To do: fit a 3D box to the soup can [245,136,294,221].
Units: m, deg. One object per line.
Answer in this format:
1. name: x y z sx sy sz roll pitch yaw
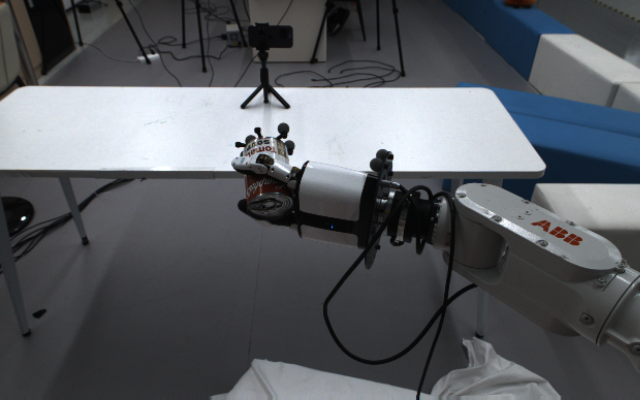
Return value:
1. soup can: -0.072 -0.030 0.688 0.067 0.067 0.101 -5 57 -10
